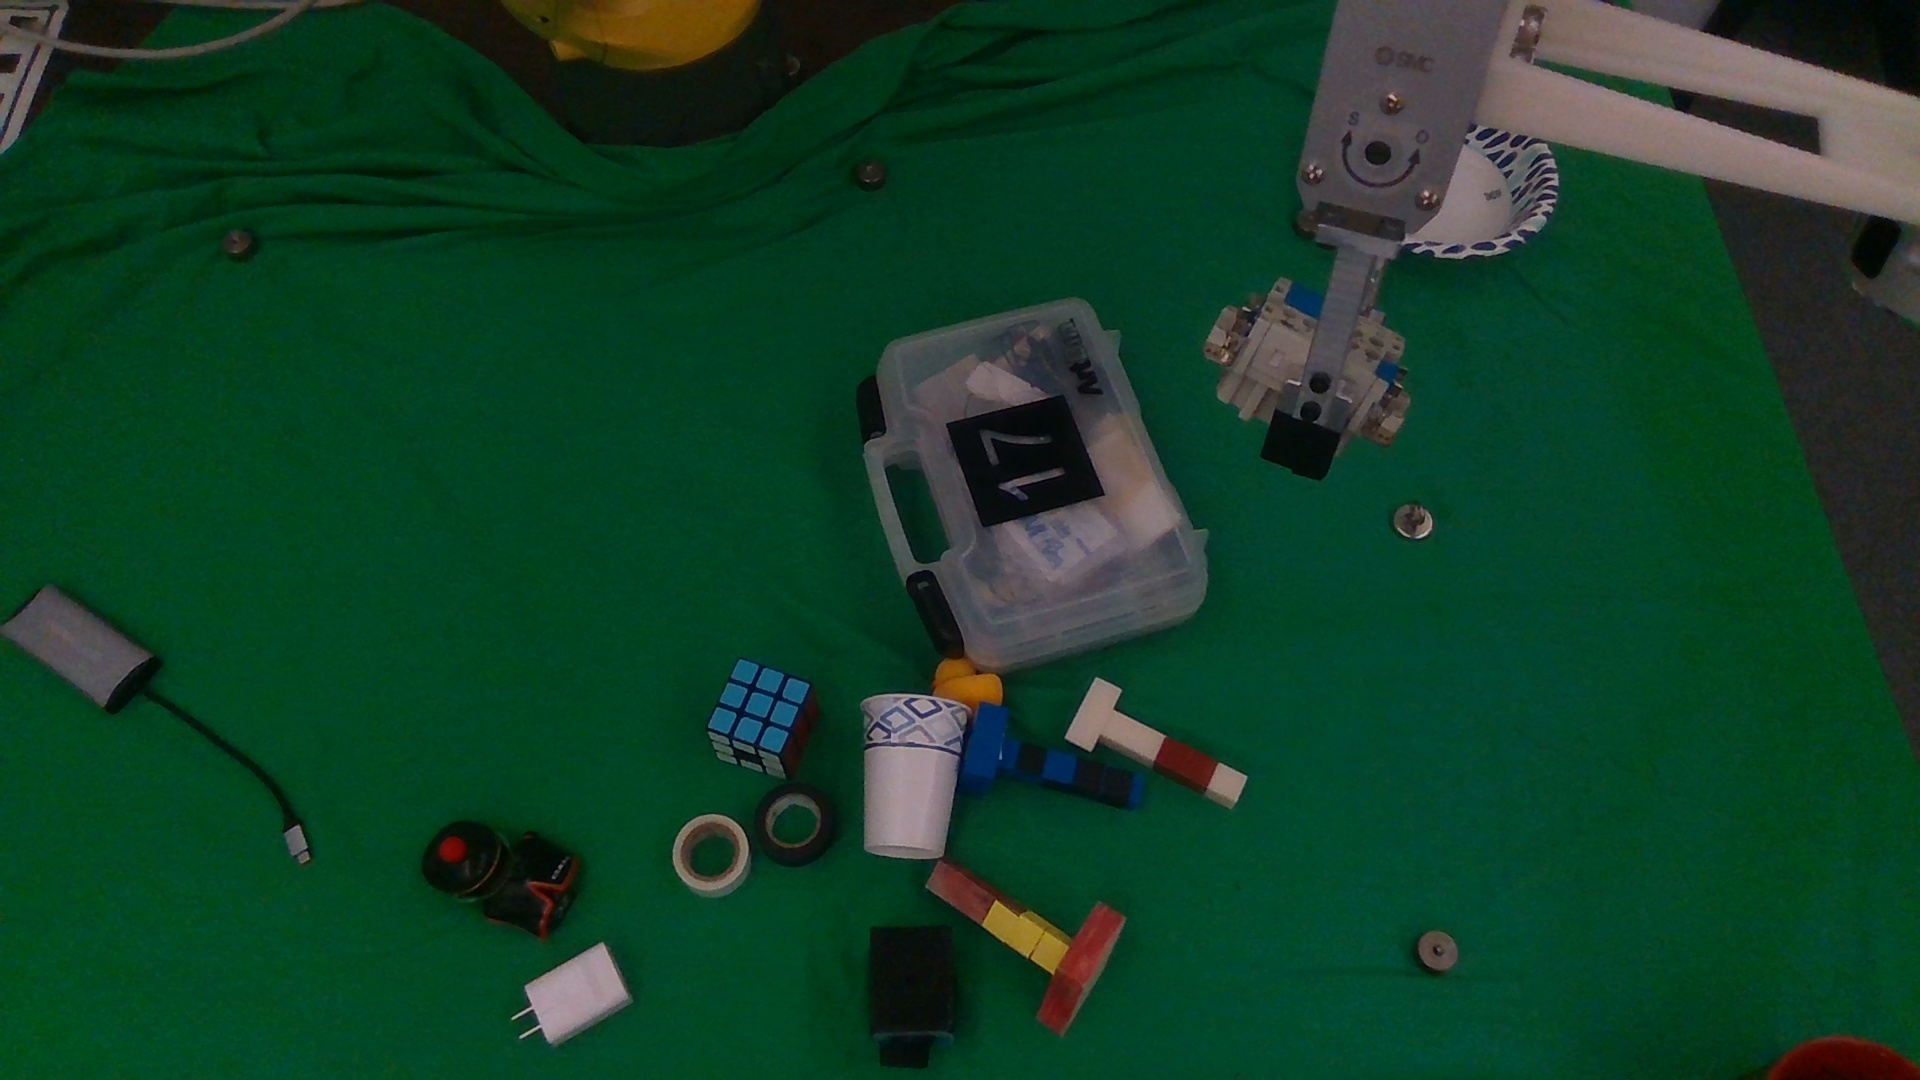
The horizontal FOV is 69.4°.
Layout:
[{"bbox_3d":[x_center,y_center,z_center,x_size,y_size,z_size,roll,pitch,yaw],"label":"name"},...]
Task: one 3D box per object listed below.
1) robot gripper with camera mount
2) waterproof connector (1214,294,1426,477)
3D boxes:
[{"bbox_3d":[0.189,-0.064,0.368,0.194,0.158,0.119,21,46,13],"label":"robot gripper with camera mount"},{"bbox_3d":[0.111,-0.046,0.424,0.065,0.037,0.035,27,43,6],"label":"waterproof connector"}]
